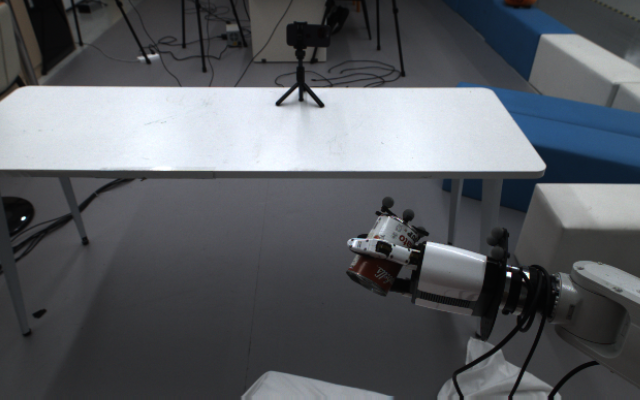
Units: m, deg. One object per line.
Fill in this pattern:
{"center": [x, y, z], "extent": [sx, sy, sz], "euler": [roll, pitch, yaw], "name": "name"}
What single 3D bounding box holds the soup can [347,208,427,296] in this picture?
{"center": [0.092, 0.079, 0.705], "extent": [0.067, 0.067, 0.101], "euler": [24, 72, 28], "name": "soup can"}
